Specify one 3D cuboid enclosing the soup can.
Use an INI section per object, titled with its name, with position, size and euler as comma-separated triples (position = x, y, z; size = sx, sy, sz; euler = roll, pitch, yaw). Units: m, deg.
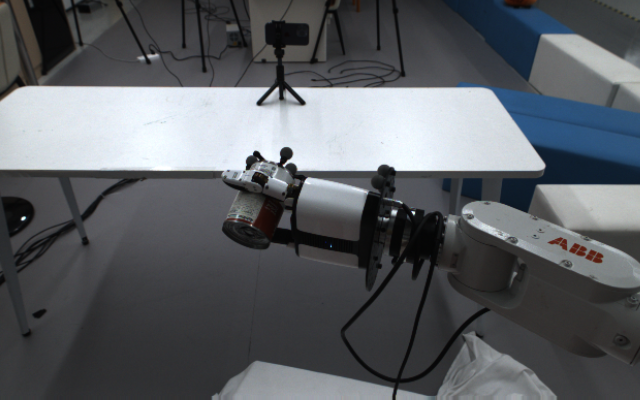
[soup can]
position = -0.081, 0.005, 0.647
size = 0.067, 0.067, 0.101
euler = 12, 59, 14
